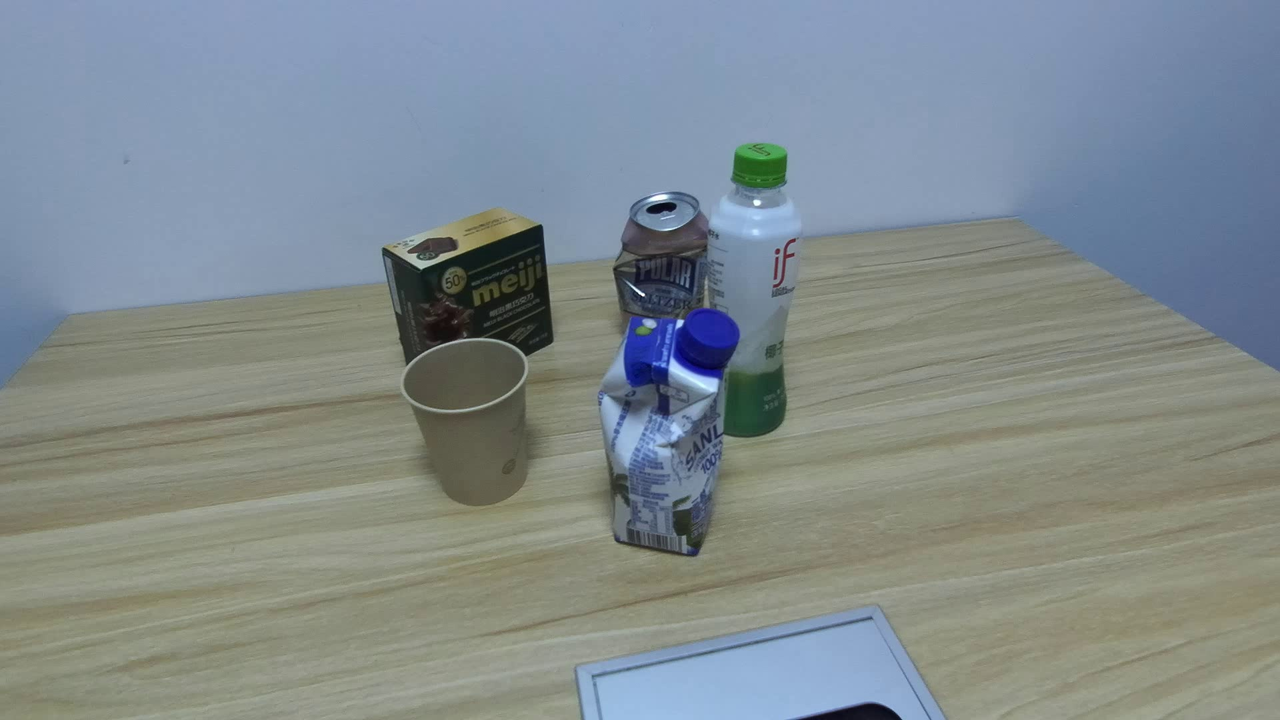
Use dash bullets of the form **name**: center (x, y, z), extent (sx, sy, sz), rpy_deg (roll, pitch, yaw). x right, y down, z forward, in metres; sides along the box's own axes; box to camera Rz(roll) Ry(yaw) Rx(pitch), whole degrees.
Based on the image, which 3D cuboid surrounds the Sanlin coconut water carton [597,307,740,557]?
- **Sanlin coconut water carton**: center (0.014, 0.038, 0.383), extent (0.070, 0.144, 0.061), rpy_deg (8, 36, 12)

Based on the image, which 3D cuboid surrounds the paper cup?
- **paper cup**: center (-0.101, 0.041, 0.438), extent (0.075, 0.082, 0.075), rpy_deg (0, 34, 0)

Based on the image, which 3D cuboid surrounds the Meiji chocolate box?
- **Meiji chocolate box**: center (-0.128, -0.046, 0.546), extent (0.056, 0.109, 0.110), rpy_deg (27, 43, 36)

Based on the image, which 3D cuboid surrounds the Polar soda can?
- **Polar soda can**: center (0.017, -0.066, 0.564), extent (0.071, 0.122, 0.066), rpy_deg (-17, 39, -25)

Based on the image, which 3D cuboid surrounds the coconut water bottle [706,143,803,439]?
- **coconut water bottle**: center (0.072, -0.042, 0.457), extent (0.063, 0.189, 0.063), rpy_deg (0, 33, 1)
